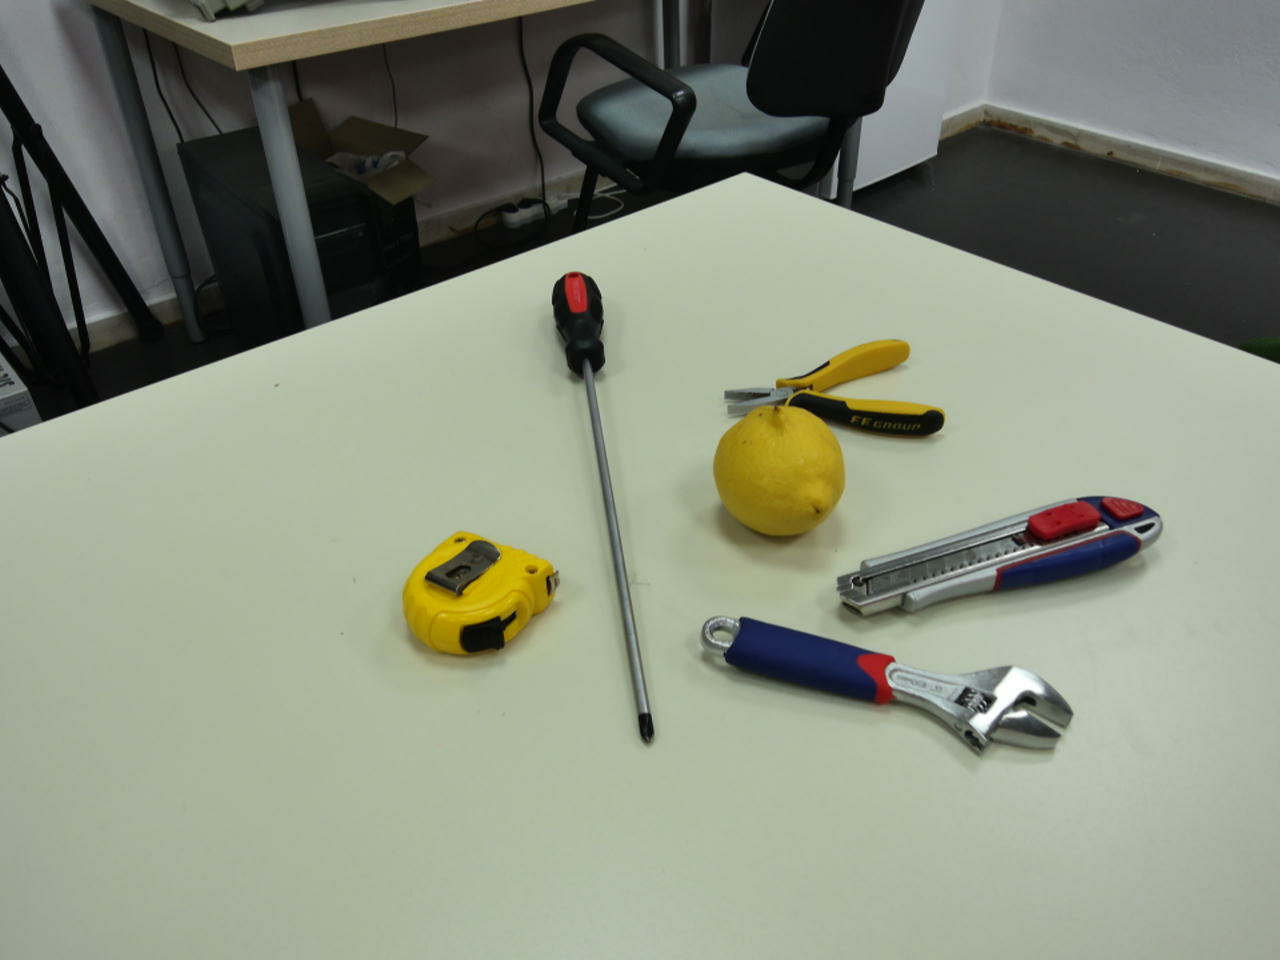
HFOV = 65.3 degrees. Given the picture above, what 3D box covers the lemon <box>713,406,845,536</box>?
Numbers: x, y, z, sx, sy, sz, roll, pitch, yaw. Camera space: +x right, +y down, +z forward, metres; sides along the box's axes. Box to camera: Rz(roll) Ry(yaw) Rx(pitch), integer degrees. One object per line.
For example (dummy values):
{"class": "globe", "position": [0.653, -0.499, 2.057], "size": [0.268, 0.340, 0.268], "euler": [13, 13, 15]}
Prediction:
{"class": "lemon", "position": [0.073, -0.008, 0.527], "size": [0.070, 0.071, 0.071], "euler": [10, 37, 13]}
